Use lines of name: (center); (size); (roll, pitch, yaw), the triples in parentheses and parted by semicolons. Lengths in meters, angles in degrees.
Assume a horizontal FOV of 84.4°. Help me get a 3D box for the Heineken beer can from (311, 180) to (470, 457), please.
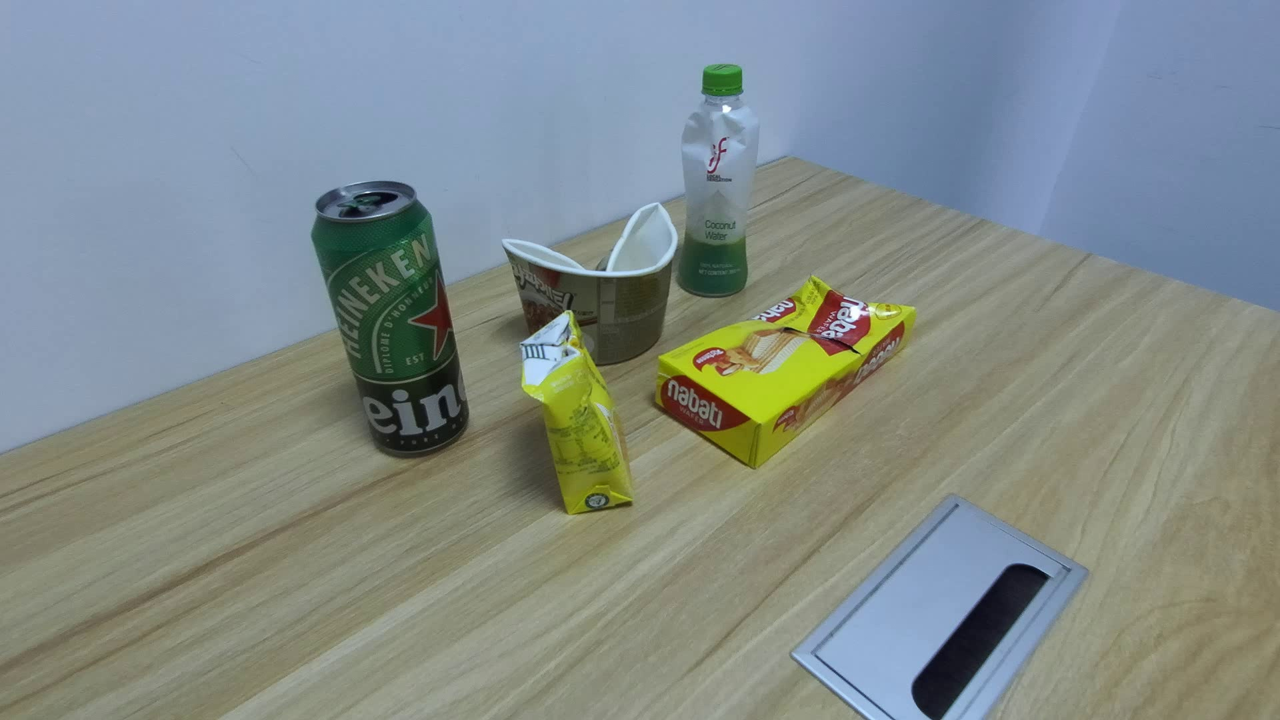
Heineken beer can: (-0.152, -0.020, 0.443); (0.067, 0.169, 0.067); (-1, 35, 1)

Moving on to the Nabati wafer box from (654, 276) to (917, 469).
Nabati wafer box: (0.112, -0.006, 0.528); (0.205, 0.042, 0.106); (-29, 46, -36)

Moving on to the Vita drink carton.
Vita drink carton: (-0.039, 0.032, 0.421); (0.042, 0.108, 0.087); (-15, 32, 3)

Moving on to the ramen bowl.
ramen bowl: (-0.036, -0.059, 0.554); (0.137, 0.098, 0.137); (-2, 37, 2)

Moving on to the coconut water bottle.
coconut water bottle: (0.067, -0.147, 0.592); (0.069, 0.186, 0.069); (0, 36, 0)
